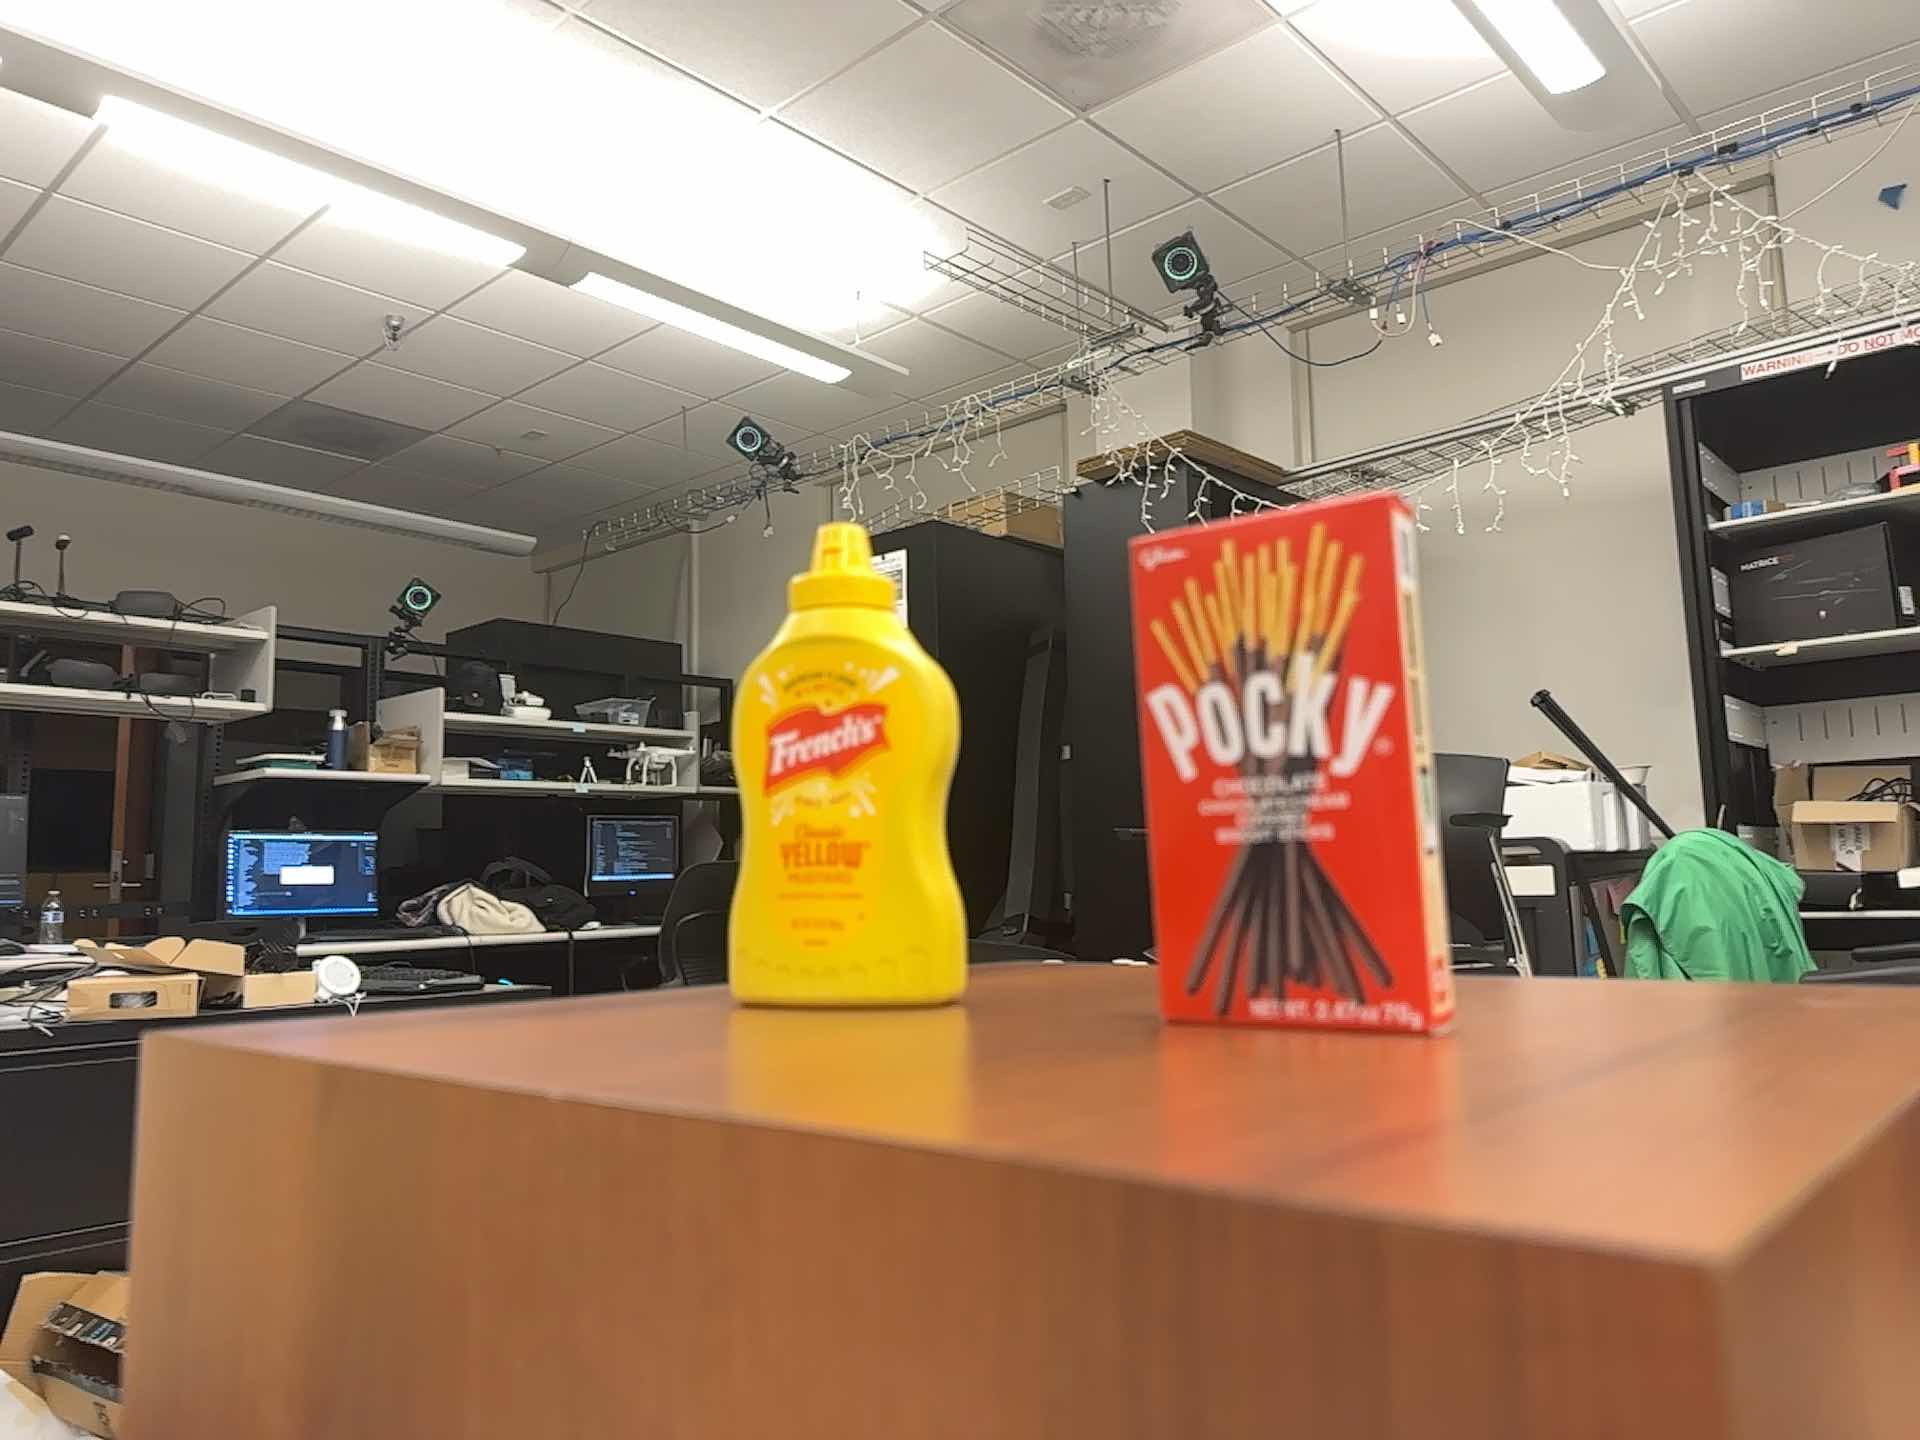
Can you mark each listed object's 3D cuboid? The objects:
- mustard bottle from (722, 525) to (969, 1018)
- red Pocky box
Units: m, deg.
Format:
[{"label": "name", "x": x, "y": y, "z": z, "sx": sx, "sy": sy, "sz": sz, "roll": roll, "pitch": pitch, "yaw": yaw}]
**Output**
[{"label": "mustard bottle", "x": -0.043, "y": 0.016, "z": 0.502, "sx": 0.092, "sy": 0.184, "sz": 0.054, "roll": -5, "pitch": -11, "yaw": 24}, {"label": "red Pocky box", "x": 0.094, "y": 0.011, "z": 0.397, "sx": 0.083, "sy": 0.155, "sz": 0.028, "roll": -9, "pitch": -12, "yaw": 36}]
